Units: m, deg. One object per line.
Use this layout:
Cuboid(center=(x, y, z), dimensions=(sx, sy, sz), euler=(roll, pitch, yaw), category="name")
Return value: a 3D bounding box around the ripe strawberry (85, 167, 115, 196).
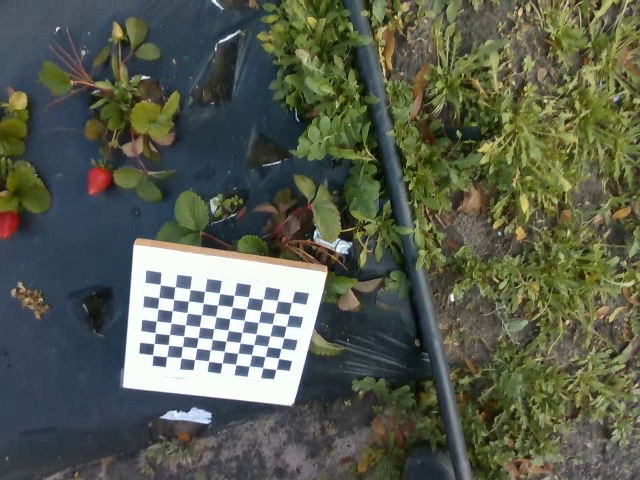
Cuboid(center=(-0.337, -0.086, 0.887), dimensions=(0.044, 0.052, 0.041), euler=(27, -23, -26), category="ripe strawberry")
